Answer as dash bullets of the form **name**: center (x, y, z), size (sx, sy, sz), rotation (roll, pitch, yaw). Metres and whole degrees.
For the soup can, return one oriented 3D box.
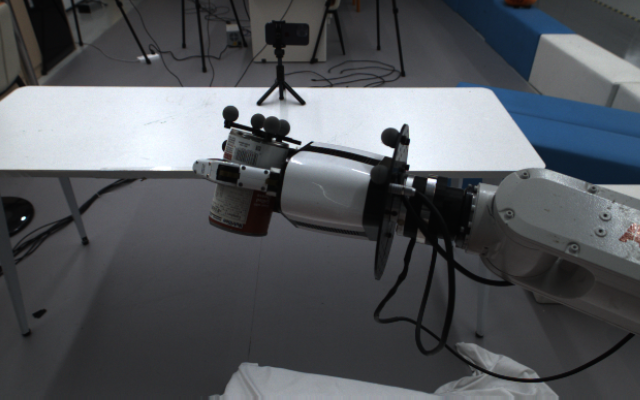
- **soup can**: center (-0.076, -0.019, 0.525), size (0.067, 0.101, 0.067), rotation (15, 7, -2)
